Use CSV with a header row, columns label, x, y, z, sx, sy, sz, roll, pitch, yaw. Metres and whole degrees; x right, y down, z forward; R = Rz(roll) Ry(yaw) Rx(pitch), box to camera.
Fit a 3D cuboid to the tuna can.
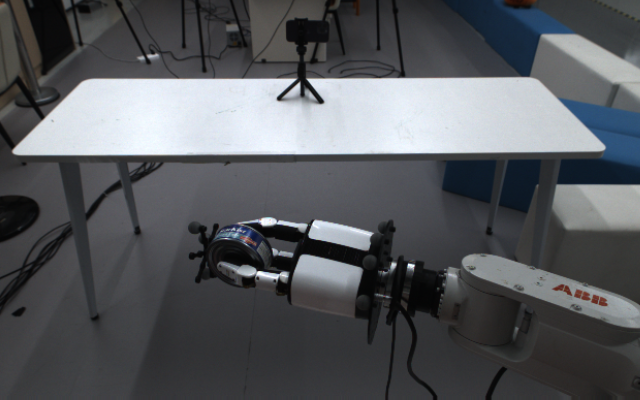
label,x,y,z,sx,sy,sz,roll,pitch,yaw
tuna can,-0.106,0.075,0.652,0.085,0.085,0.034,9,33,10
